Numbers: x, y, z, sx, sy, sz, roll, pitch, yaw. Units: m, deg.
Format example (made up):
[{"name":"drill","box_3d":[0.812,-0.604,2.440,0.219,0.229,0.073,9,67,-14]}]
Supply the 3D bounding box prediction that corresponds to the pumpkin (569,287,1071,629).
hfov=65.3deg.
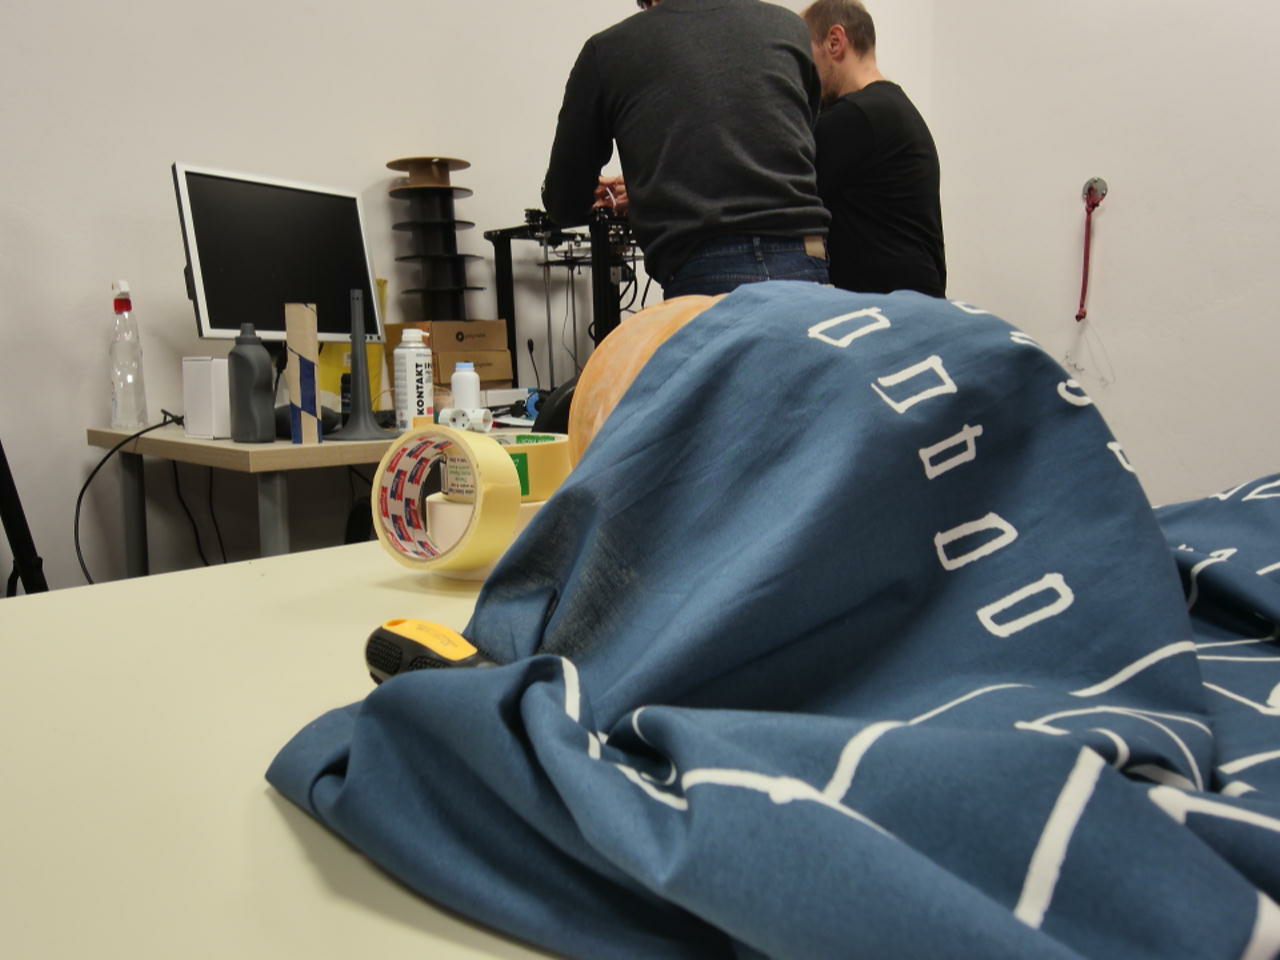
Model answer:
[{"name":"pumpkin","box_3d":[0.091,-0.015,0.565,0.277,0.181,0.277,0,5,0]}]
